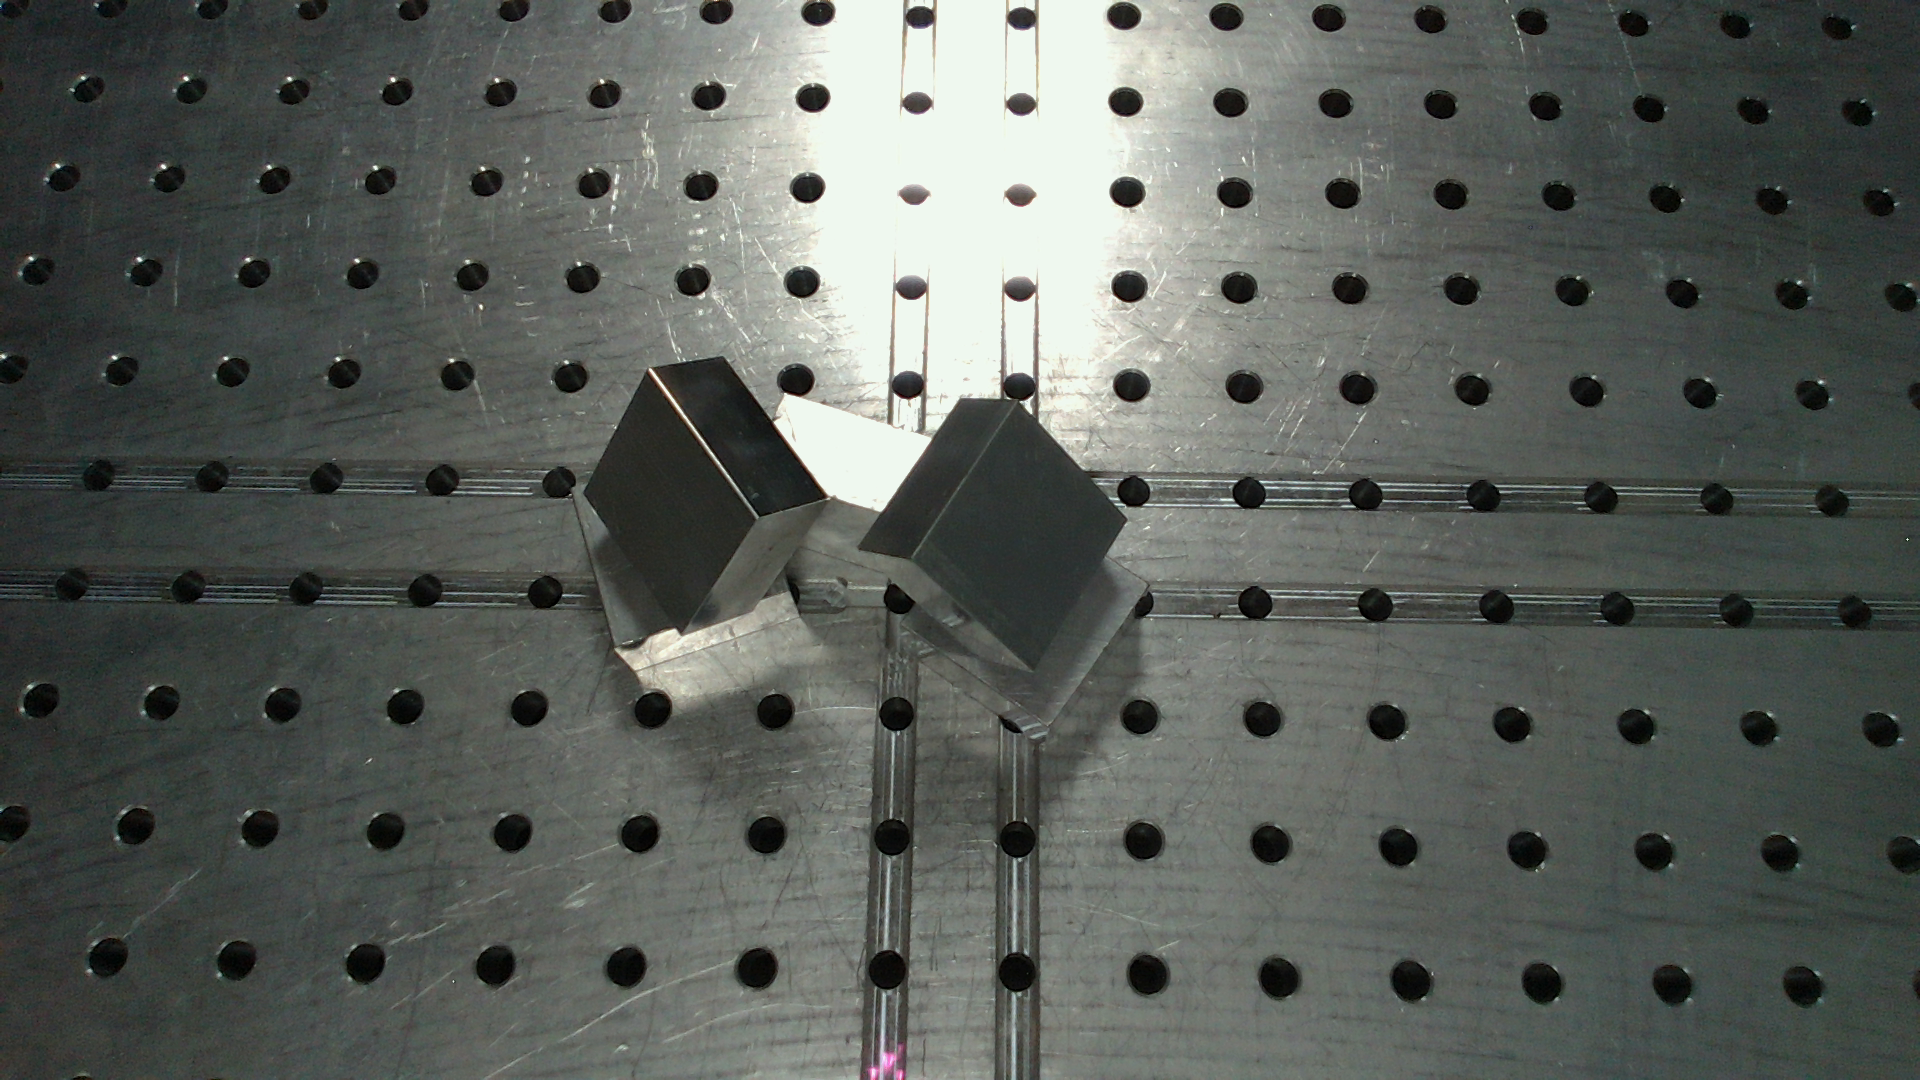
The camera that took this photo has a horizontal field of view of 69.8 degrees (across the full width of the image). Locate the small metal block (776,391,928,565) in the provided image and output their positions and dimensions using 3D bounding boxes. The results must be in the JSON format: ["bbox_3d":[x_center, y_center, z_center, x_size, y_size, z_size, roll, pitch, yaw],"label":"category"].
[{"bbox_3d":[-0.028,-0.013,0.388,0.050,0.050,0.025,18,71,6],"label":"small metal block"}]

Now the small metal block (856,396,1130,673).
[{"bbox_3d":[0.010,-0.002,0.356,0.050,0.025,0.050,44,69,-32],"label":"small metal block"}]

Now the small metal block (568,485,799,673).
[{"bbox_3d":[-0.079,0.004,0.396,0.050,0.025,0.050,-18,71,-7],"label":"small metal block"}]

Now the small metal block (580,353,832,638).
[{"bbox_3d":[-0.067,-0.012,0.358,0.025,0.050,0.050,-20,66,-48],"label":"small metal block"}]

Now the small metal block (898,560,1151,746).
[{"bbox_3d":[0.018,0.022,0.389,0.050,0.025,0.050,34,73,11],"label":"small metal block"}]
